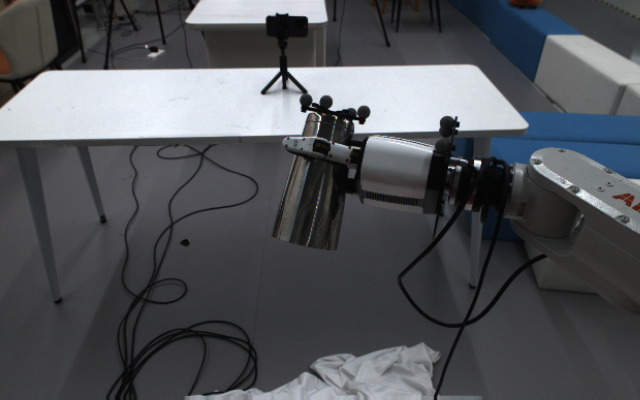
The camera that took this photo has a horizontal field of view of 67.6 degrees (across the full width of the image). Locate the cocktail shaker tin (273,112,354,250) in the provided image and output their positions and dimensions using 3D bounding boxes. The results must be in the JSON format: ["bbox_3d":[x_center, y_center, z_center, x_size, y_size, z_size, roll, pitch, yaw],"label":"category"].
[{"bbox_3d":[0.000,-0.028,0.654,0.093,0.170,0.093,13,1,0],"label":"cocktail shaker tin"}]
